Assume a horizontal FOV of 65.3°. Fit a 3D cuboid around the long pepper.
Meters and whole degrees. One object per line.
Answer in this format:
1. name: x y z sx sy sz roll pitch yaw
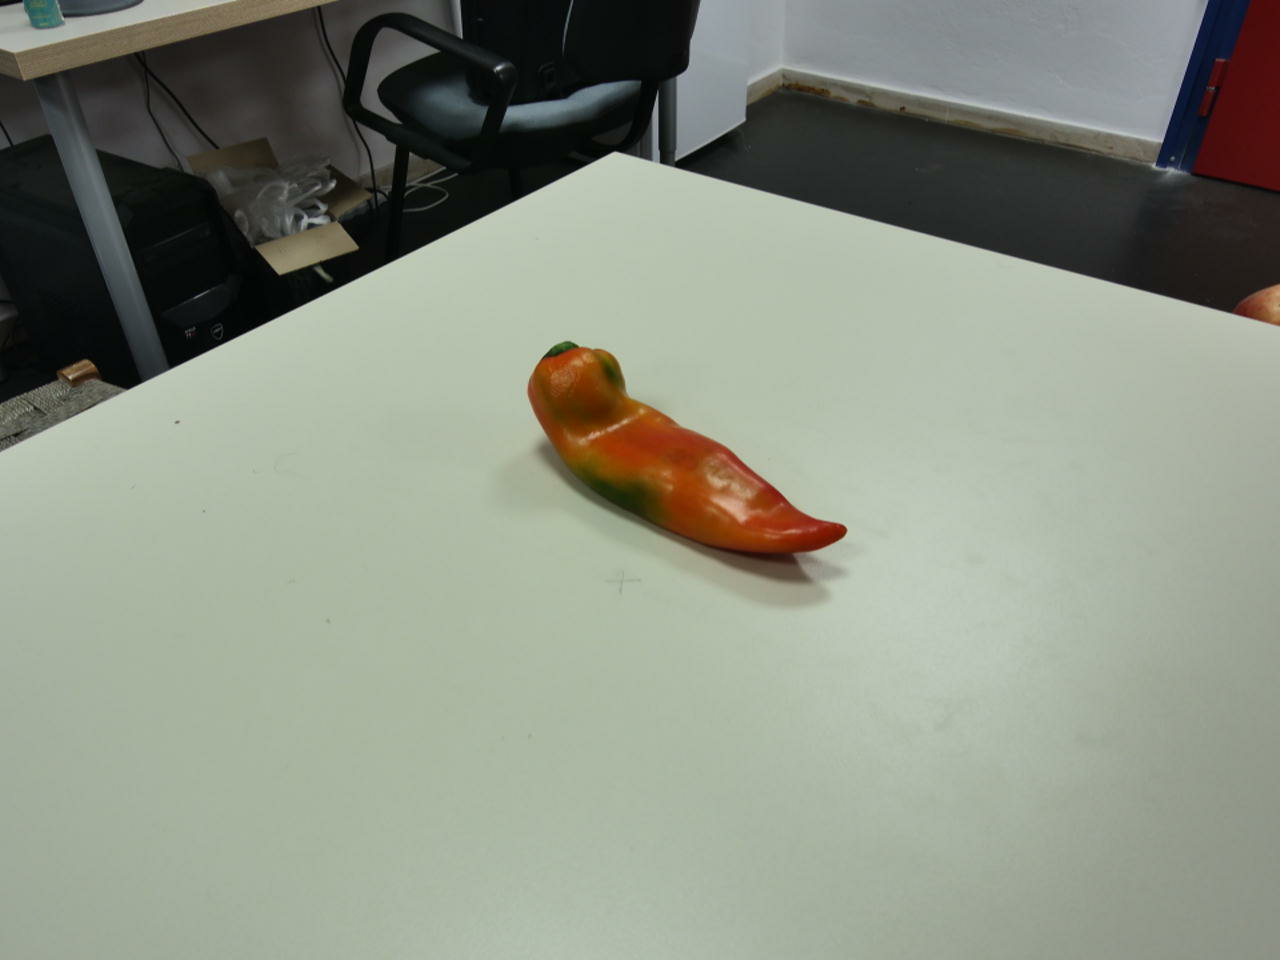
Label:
1. long pepper: 0.019 -0.015 0.524 0.199 0.065 0.066 29 47 33
